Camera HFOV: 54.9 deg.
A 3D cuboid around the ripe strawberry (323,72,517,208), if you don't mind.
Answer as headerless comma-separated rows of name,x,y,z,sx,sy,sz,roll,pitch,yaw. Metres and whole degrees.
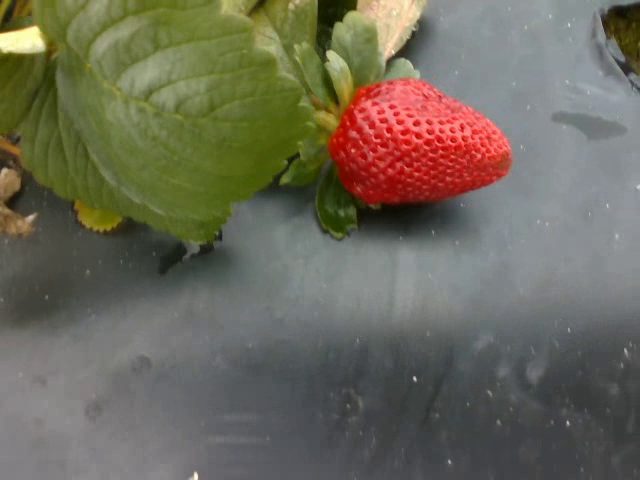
ripe strawberry,0.032,-0.027,0.193,0.064,0.046,0.048,20,37,31
